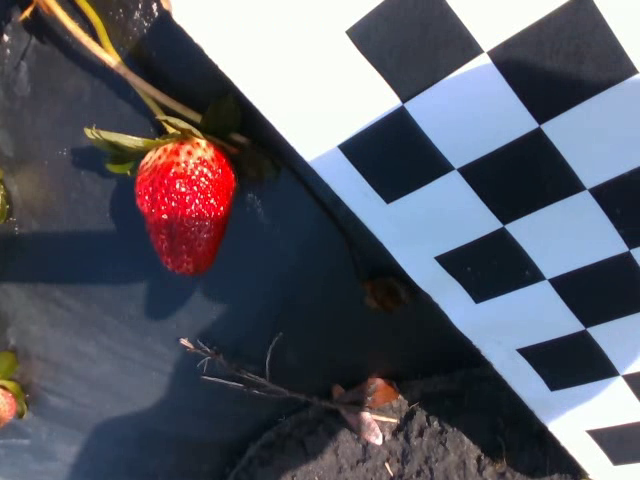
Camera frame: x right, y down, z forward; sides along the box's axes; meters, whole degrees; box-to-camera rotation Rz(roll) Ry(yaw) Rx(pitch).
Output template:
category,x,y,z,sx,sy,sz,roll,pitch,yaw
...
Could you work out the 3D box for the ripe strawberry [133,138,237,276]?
category,x,y,z,sx,sy,sz,roll,pitch,yaw
ripe strawberry,-0.018,-0.005,0.076,0.015,0.023,0.015,-19,-20,32
